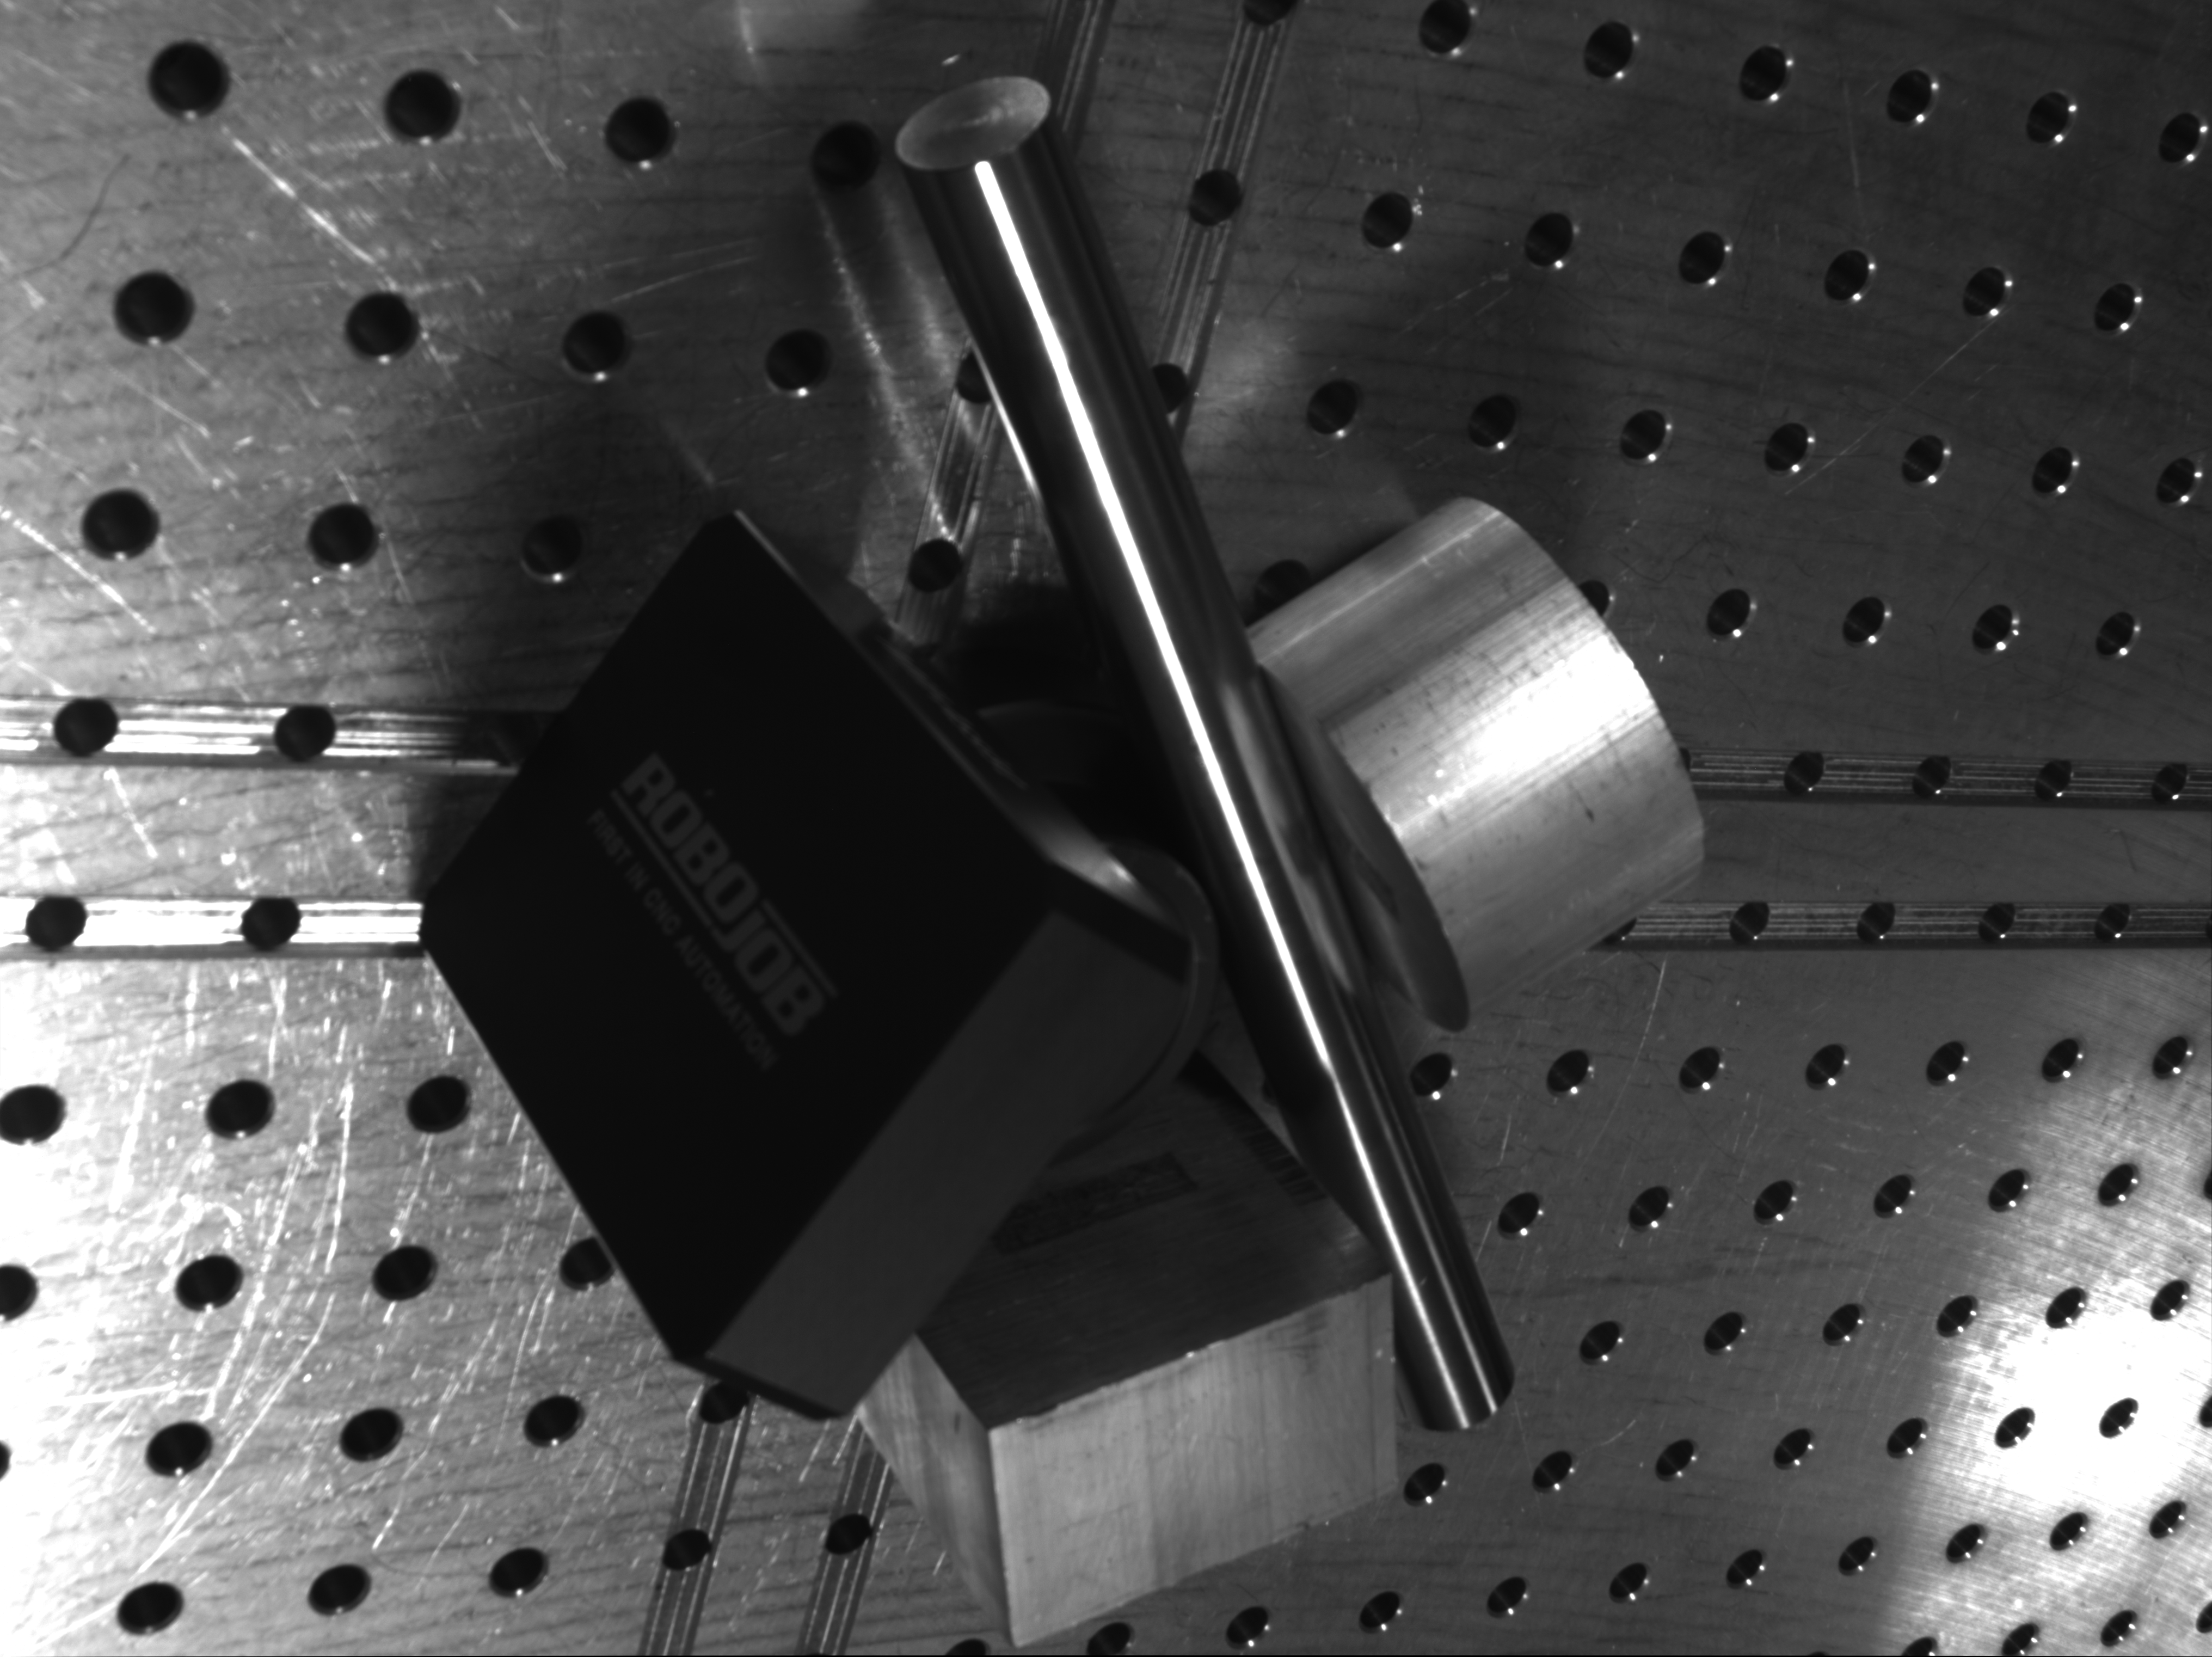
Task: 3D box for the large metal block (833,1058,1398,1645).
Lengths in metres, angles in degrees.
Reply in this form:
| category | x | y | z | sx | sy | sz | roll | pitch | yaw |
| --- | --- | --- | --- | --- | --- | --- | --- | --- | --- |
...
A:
| category | x | y | z | sx | sy | sz | roll | pitch | yaw |
| --- | --- | --- | --- | --- | --- | --- | --- | --- | --- |
| large metal block | -0.001 | 0.092 | 0.674 | 0.080 | 0.080 | 0.050 | -18 | 126 | -20 |

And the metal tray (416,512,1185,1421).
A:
| category | x | y | z | sx | sy | sz | roll | pitch | yaw |
| --- | --- | --- | --- | --- | --- | --- | --- | --- | --- |
| metal tray | -0.052 | 0.018 | 0.566 | 0.030 | 0.130 | 0.090 | 32 | 100 | -39 |

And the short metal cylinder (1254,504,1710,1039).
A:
| category | x | y | z | sx | sy | sz | roll | pitch | yaw |
| --- | --- | --- | --- | --- | --- | --- | --- | --- | --- |
| short metal cylinder | 0.062 | -0.010 | 0.647 | 0.050 | 0.080 | 0.080 | -32 | 130 | -9 |

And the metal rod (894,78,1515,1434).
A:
| category | x | y | z | sx | sy | sz | roll | pitch | yaw |
| --- | --- | --- | --- | --- | --- | --- | --- | --- | --- |
| metal rod | 0.025 | 0.003 | 0.643 | 0.025 | 0.025 | 0.300 | -31 | 129 | -10 |

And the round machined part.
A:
| category | x | y | z | sx | sy | sz | roll | pitch | yaw |
| --- | --- | --- | --- | --- | --- | --- | --- | --- | --- |
| round machined part | -0.020 | 0.023 | 0.645 | 0.098 | 0.042 | 0.098 | -15 | 125 | -22 |
